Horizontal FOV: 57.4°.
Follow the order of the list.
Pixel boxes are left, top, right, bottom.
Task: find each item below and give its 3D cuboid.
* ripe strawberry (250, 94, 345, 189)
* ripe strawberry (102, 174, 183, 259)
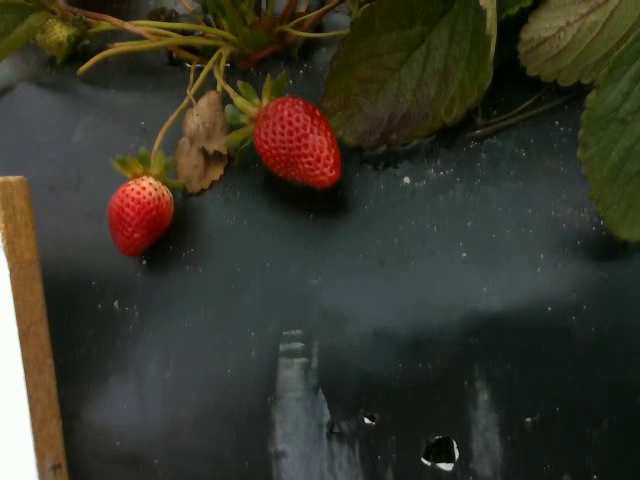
[{"bbox_3d":[-0.010,-0.043,0.257,0.059,0.044,0.042,49,25,23],"label":"ripe strawberry"},{"bbox_3d":[-0.084,-0.012,0.262,0.036,0.041,0.028,-2,-10,20],"label":"ripe strawberry"}]
